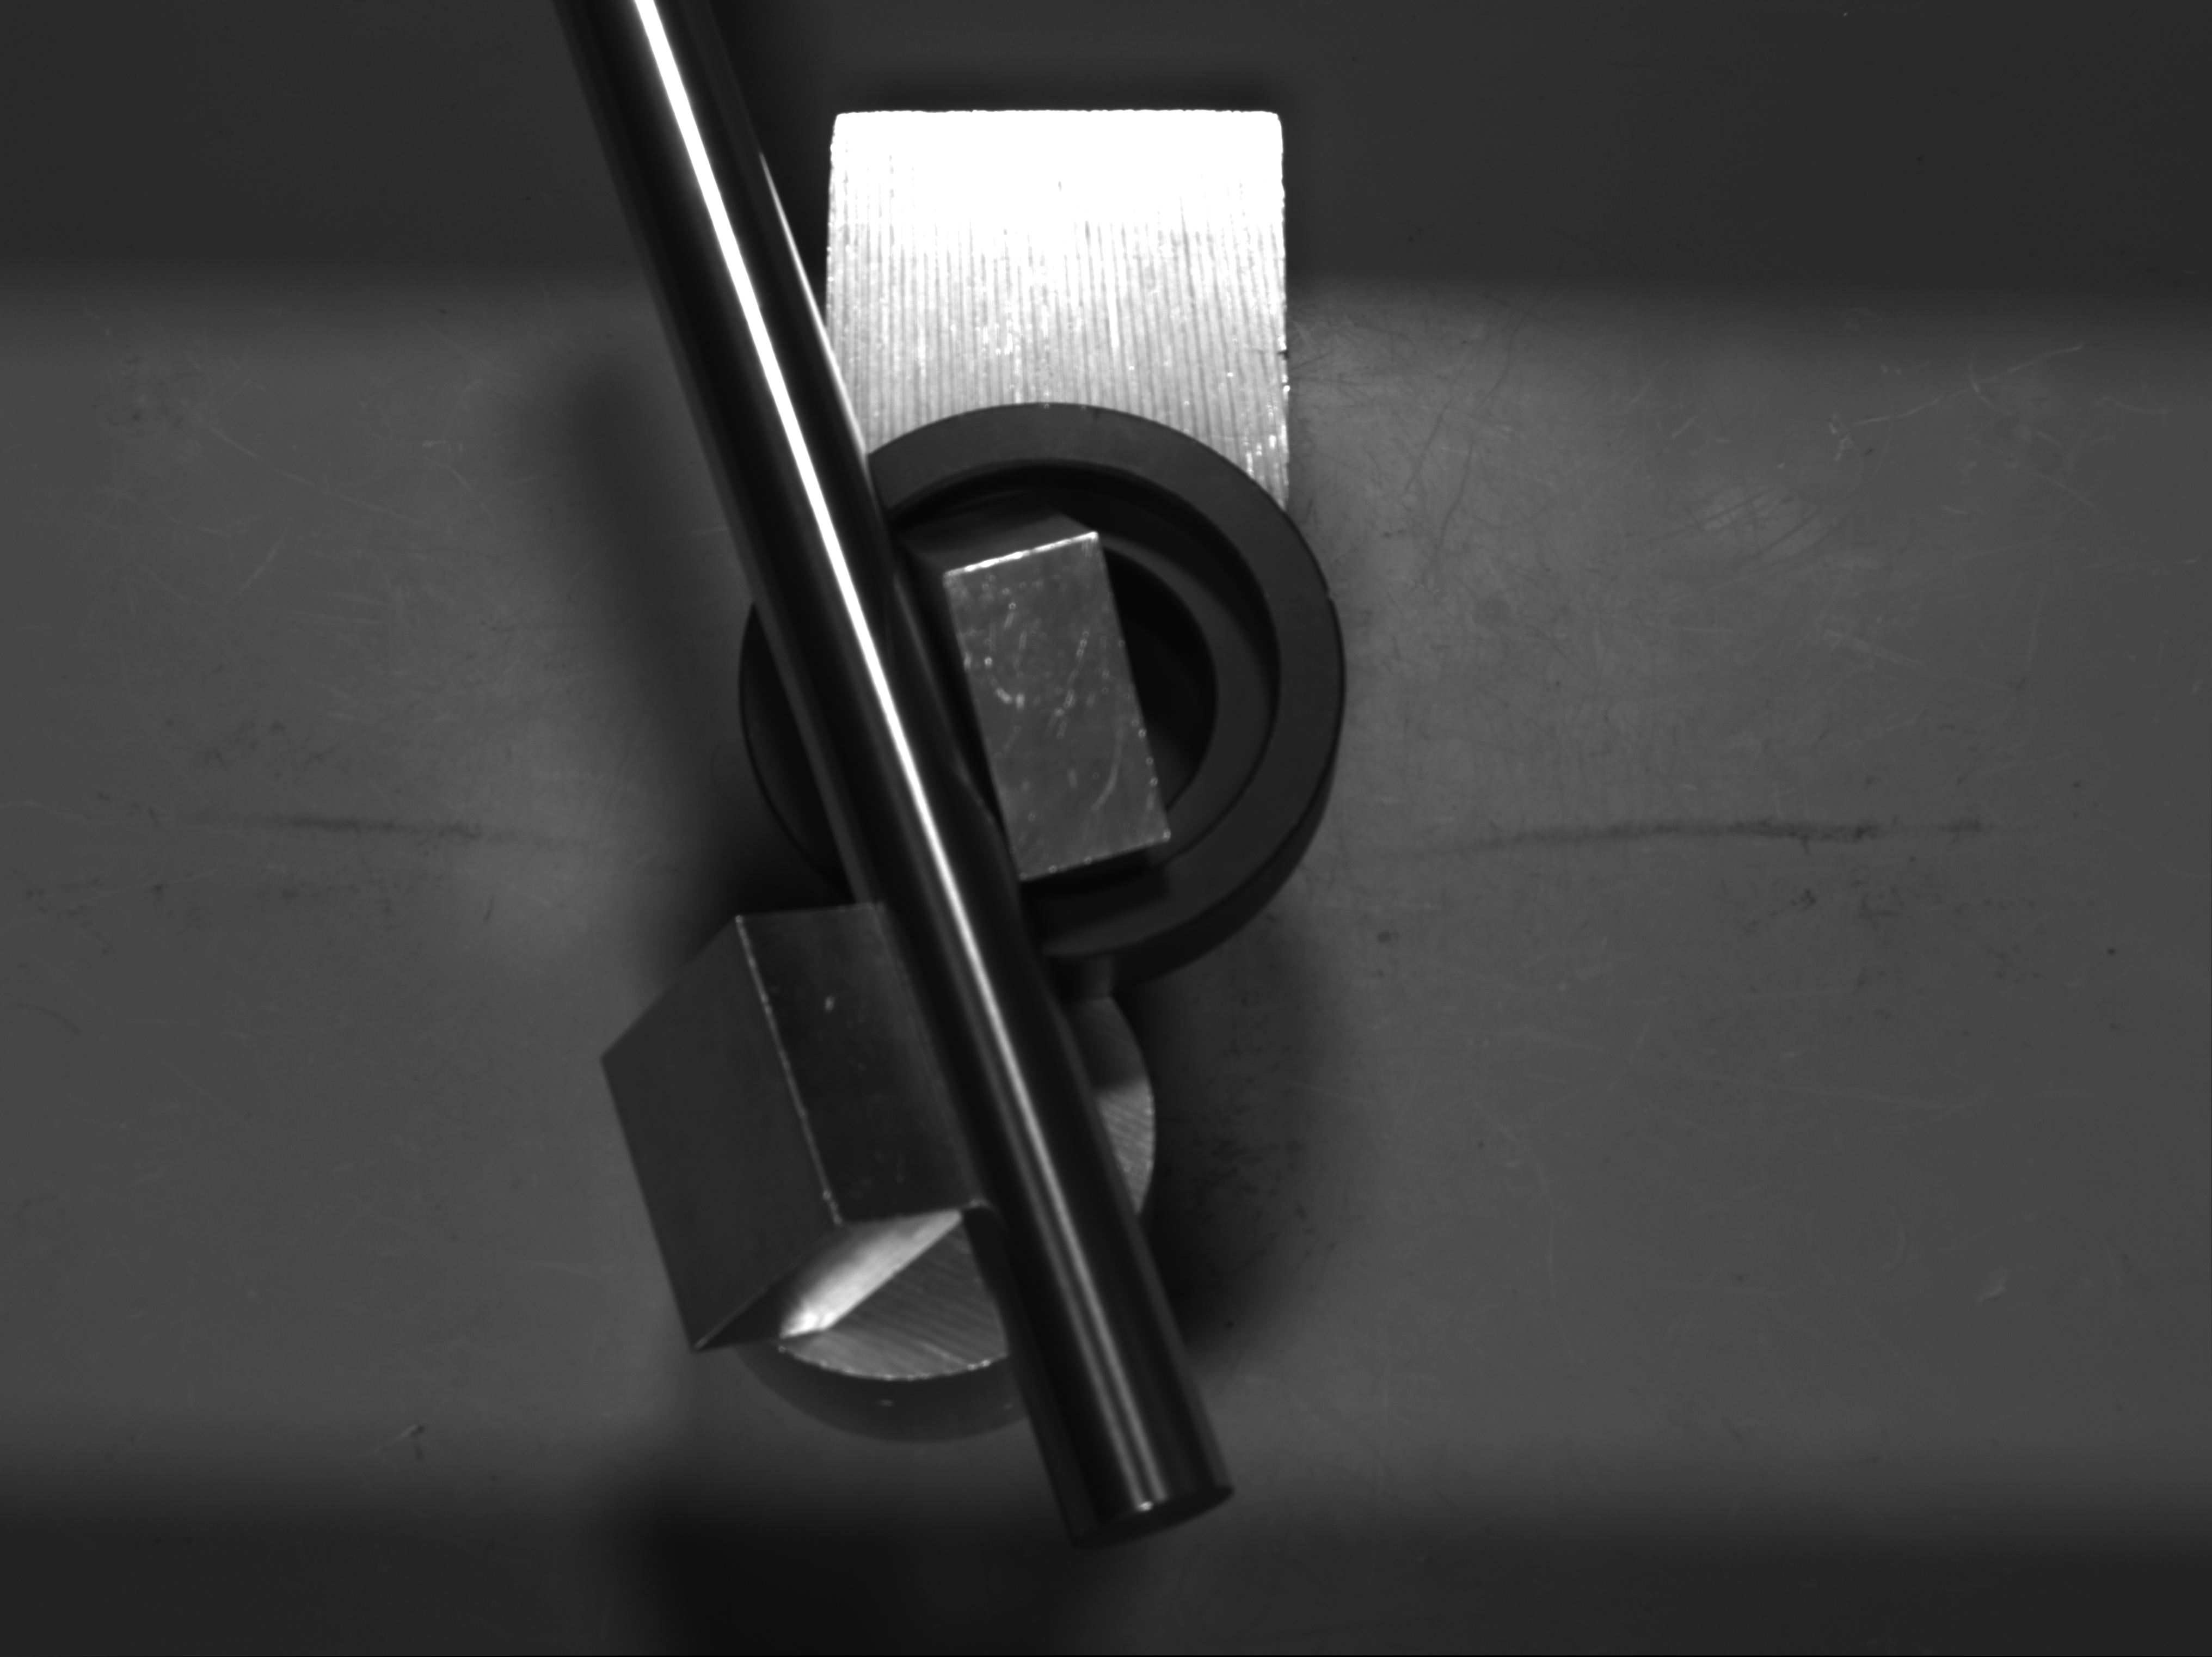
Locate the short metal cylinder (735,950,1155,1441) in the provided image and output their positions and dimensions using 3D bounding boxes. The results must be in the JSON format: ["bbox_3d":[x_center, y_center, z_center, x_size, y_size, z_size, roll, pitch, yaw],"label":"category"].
[{"bbox_3d":[-0.032,0.057,0.610,0.080,0.050,0.080,0,70,0],"label":"short metal cylinder"}]

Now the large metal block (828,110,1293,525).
[{"bbox_3d":[-0.008,-0.081,0.659,0.080,0.050,0.080,0,70,0],"label":"large metal block"}]

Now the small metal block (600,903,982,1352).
[{"bbox_3d":[-0.049,0.046,0.558,0.025,0.050,0.050,-4,65,-37],"label":"small metal block"}]

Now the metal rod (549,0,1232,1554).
[{"bbox_3d":[-0.042,-0.032,0.581,0.025,0.025,0.300,-18,71,-6],"label":"metal rod"}]

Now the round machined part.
[{"bbox_3d":[-0.010,-0.018,0.610,0.098,0.042,0.098,0,70,0],"label":"round machined part"}]

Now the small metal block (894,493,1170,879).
[{"bbox_3d":[-0.013,-0.024,0.588,0.025,0.050,0.050,-16,105,-9],"label":"small metal block"}]
